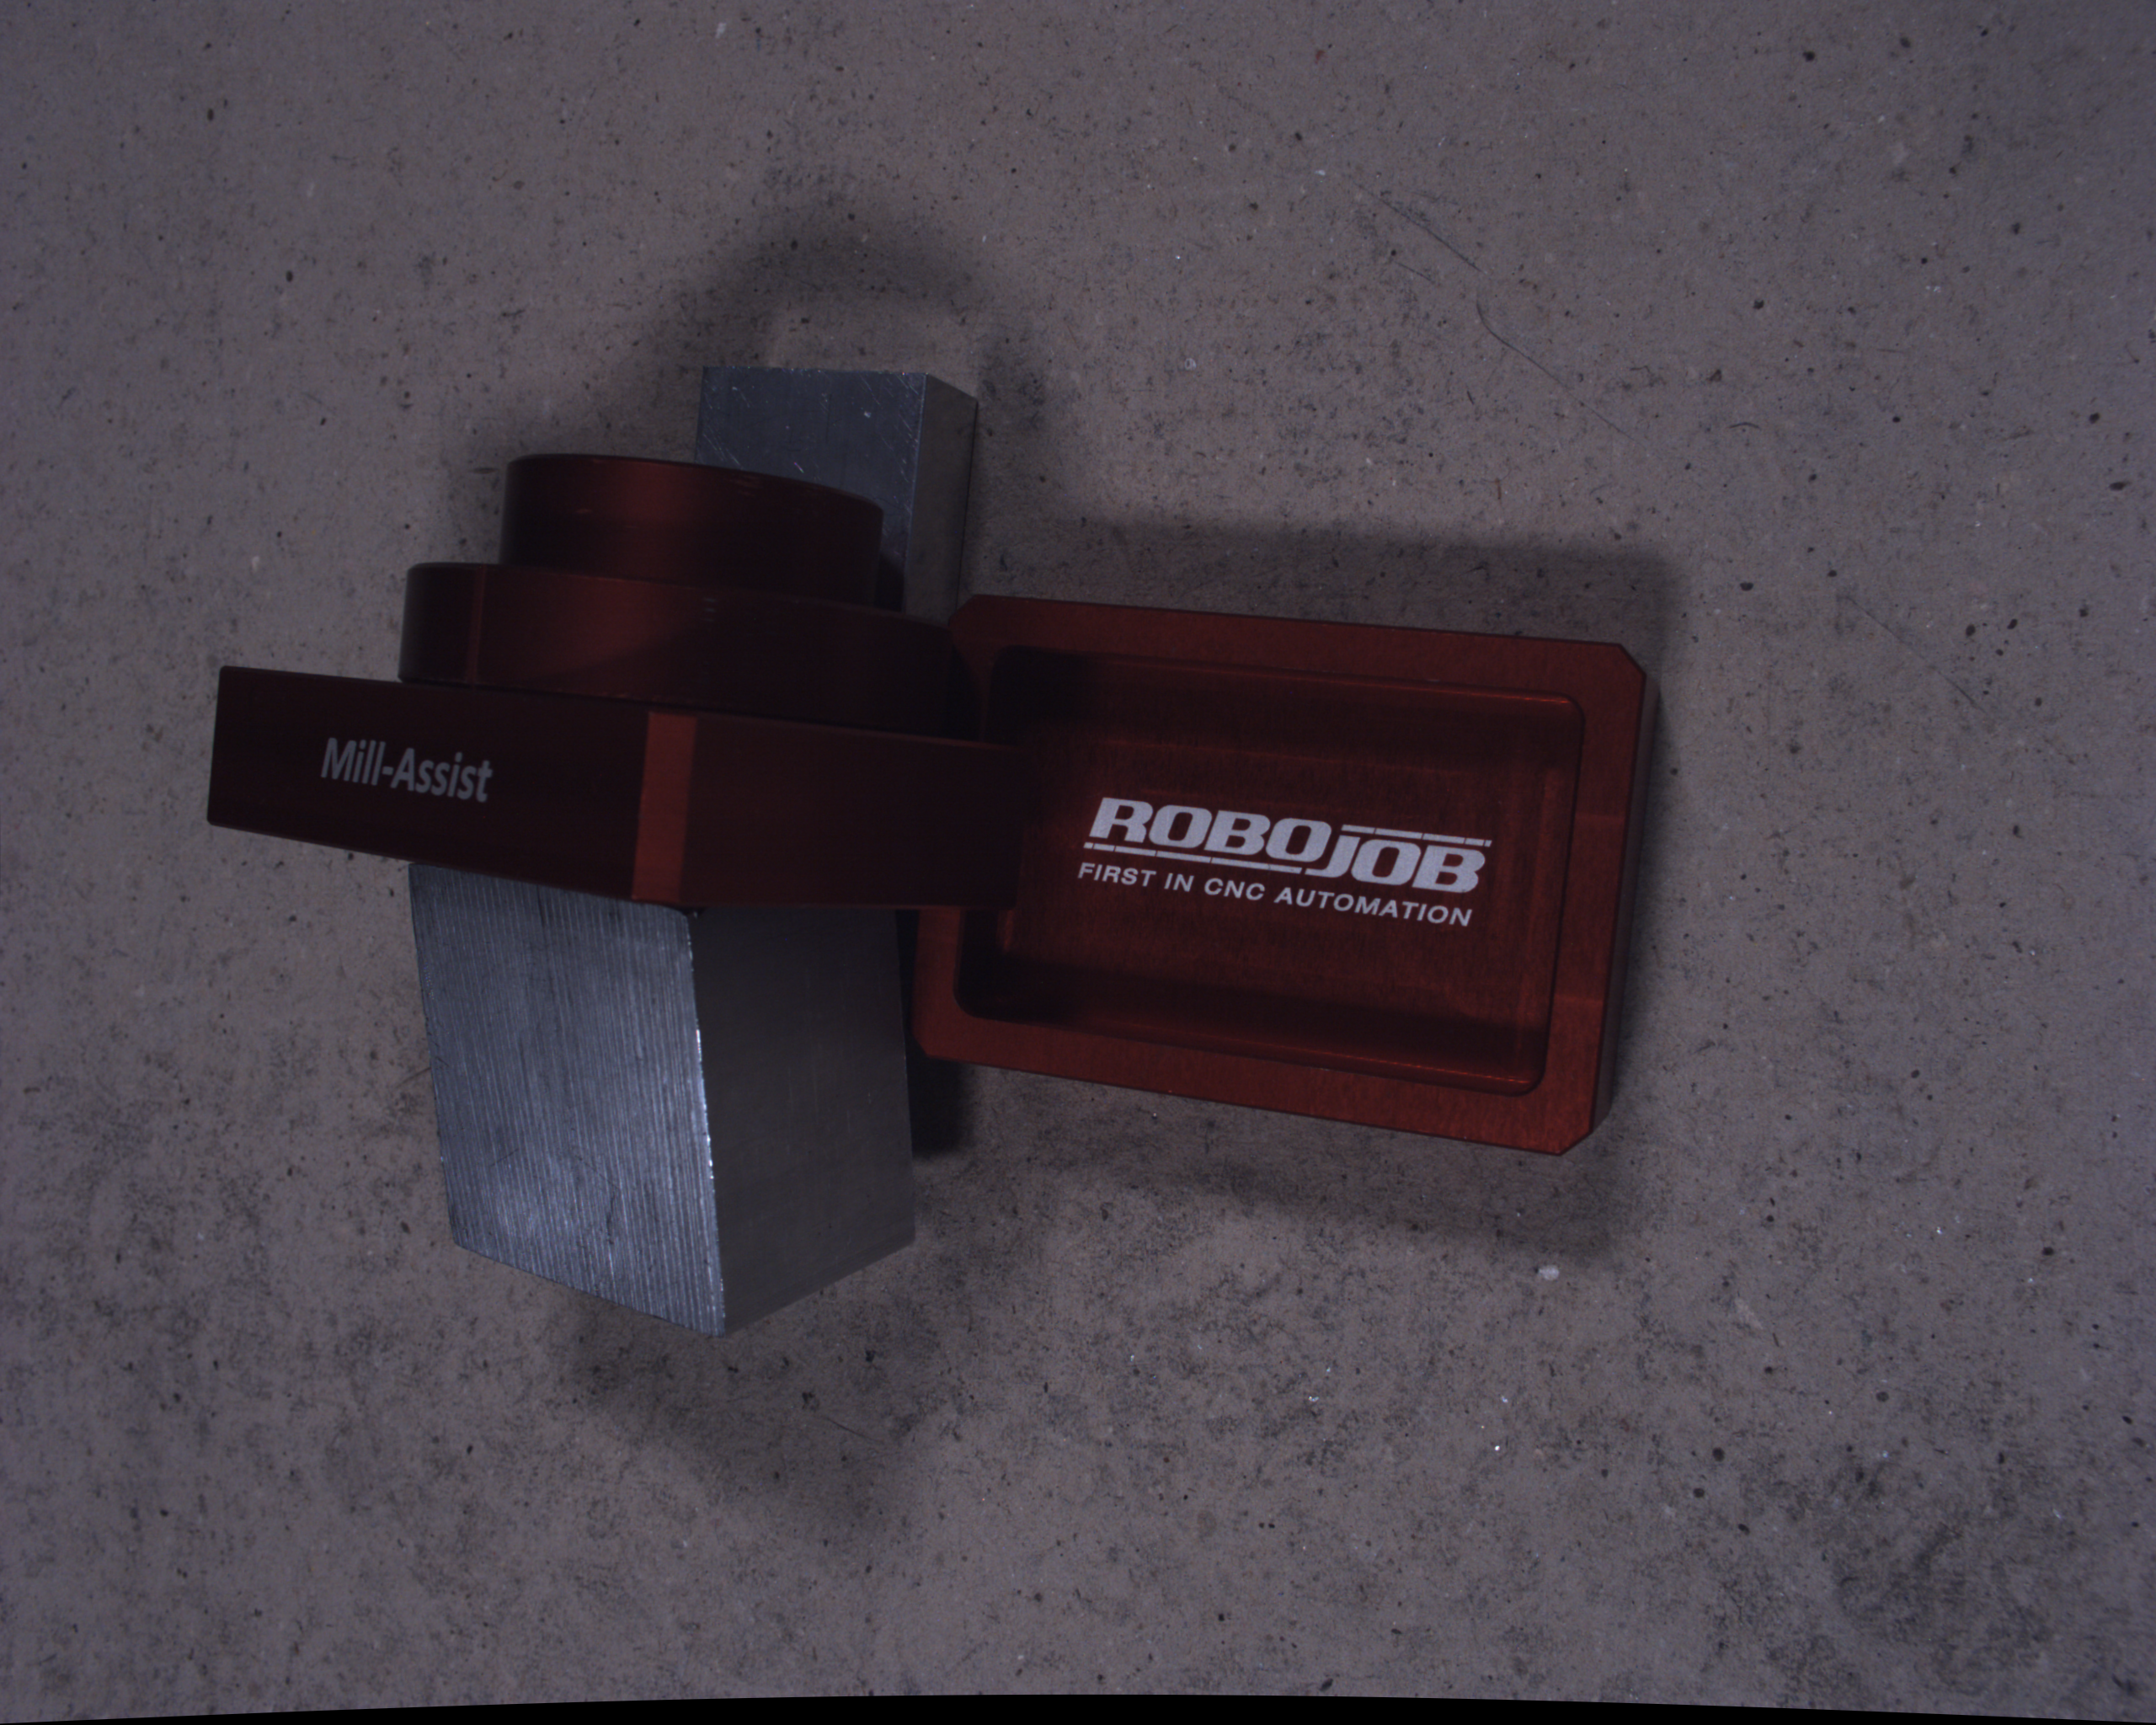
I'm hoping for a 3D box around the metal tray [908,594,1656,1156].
[{"bbox_3d":[0.037,0.000,0.394,0.130,0.030,0.089,7,92,19],"label":"metal tray"}]

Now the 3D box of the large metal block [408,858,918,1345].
[{"bbox_3d":[-0.080,0.038,0.404,0.080,0.050,0.079,7,106,37],"label":"large metal block"}]

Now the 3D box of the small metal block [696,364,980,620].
[{"bbox_3d":[-0.051,-0.074,0.428,0.050,0.025,0.050,7,92,19],"label":"small metal block"}]

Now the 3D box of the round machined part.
[{"bbox_3d":[-0.072,-0.048,0.384,0.098,0.098,0.042,7,92,19],"label":"round machined part"}]

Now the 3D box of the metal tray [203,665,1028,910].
[{"bbox_3d":[-0.086,-0.014,0.387,0.130,0.091,0.030,8,94,38],"label":"metal tray"}]
